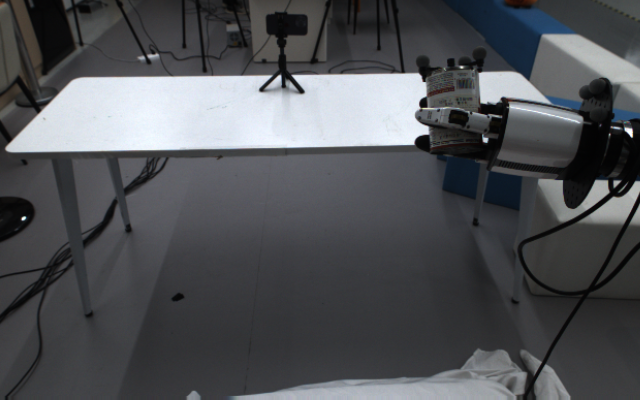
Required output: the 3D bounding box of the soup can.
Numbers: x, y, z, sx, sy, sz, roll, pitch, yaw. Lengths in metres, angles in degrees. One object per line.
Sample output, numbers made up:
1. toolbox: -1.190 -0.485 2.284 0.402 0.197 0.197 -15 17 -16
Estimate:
1. soup can: 0.174 -0.112 0.621 0.067 0.101 0.067 -3 -1 0
